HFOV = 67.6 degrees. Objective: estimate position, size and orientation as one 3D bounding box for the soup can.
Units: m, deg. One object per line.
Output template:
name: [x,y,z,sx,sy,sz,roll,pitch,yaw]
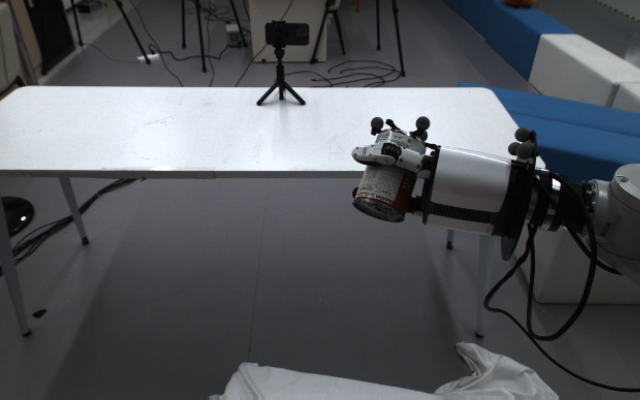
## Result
soup can: [0.091,-0.032,0.619,0.067,0.067,0.101,15,74,18]
